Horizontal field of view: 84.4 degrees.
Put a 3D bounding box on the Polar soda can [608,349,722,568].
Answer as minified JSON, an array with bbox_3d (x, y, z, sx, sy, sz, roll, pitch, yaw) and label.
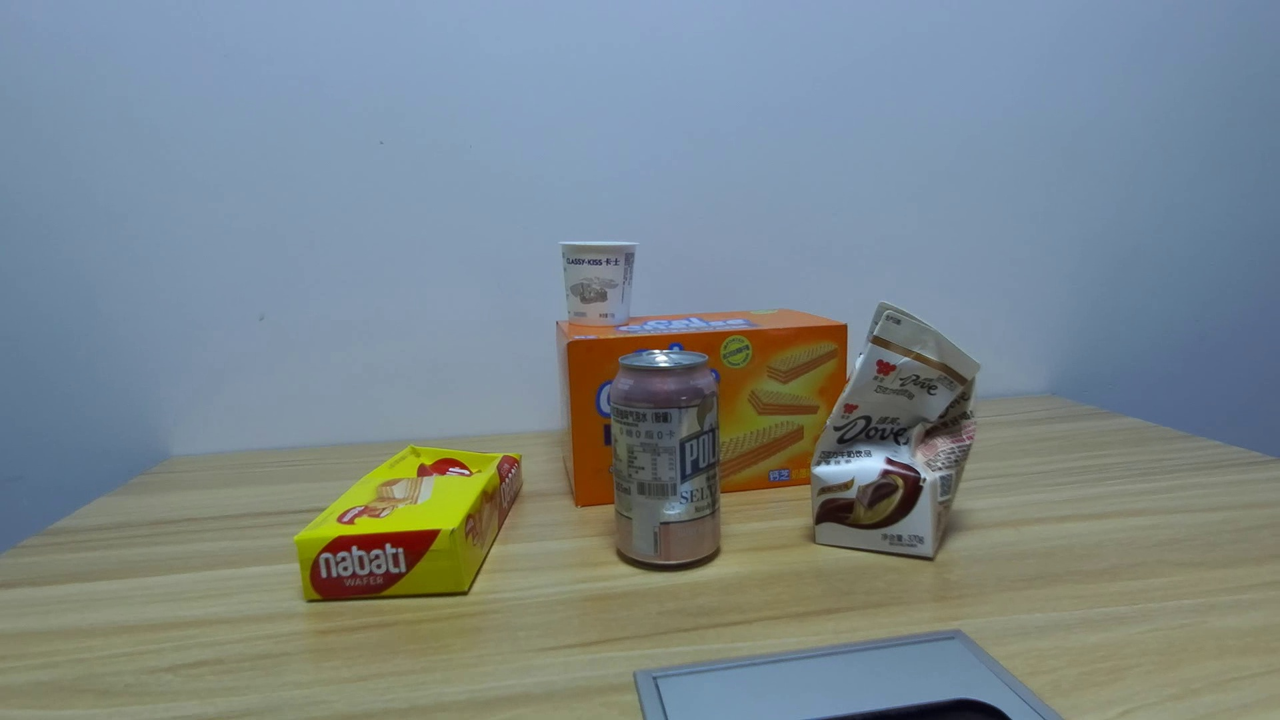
[{"bbox_3d":[0.016,0.059,0.437,0.067,0.125,0.067,-1,9,0],"label":"Polar soda can"}]

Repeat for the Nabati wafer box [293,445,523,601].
[{"bbox_3d":[-0.144,0.099,0.489,0.096,0.042,0.203,-4,8,1],"label":"Nabati wafer box"}]

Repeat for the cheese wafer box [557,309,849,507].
[{"bbox_3d":[0.046,0.031,0.602,0.222,0.129,0.148,-3,10,-9],"label":"cheese wafer box"}]

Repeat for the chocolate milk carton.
[{"bbox_3d":[0.161,0.044,0.442,0.089,0.155,0.077,16,19,17],"label":"chocolate milk carton"}]

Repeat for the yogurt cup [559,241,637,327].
[{"bbox_3d":[-0.034,-0.066,0.608,0.072,0.068,0.072,0,9,0],"label":"yogurt cup"}]
